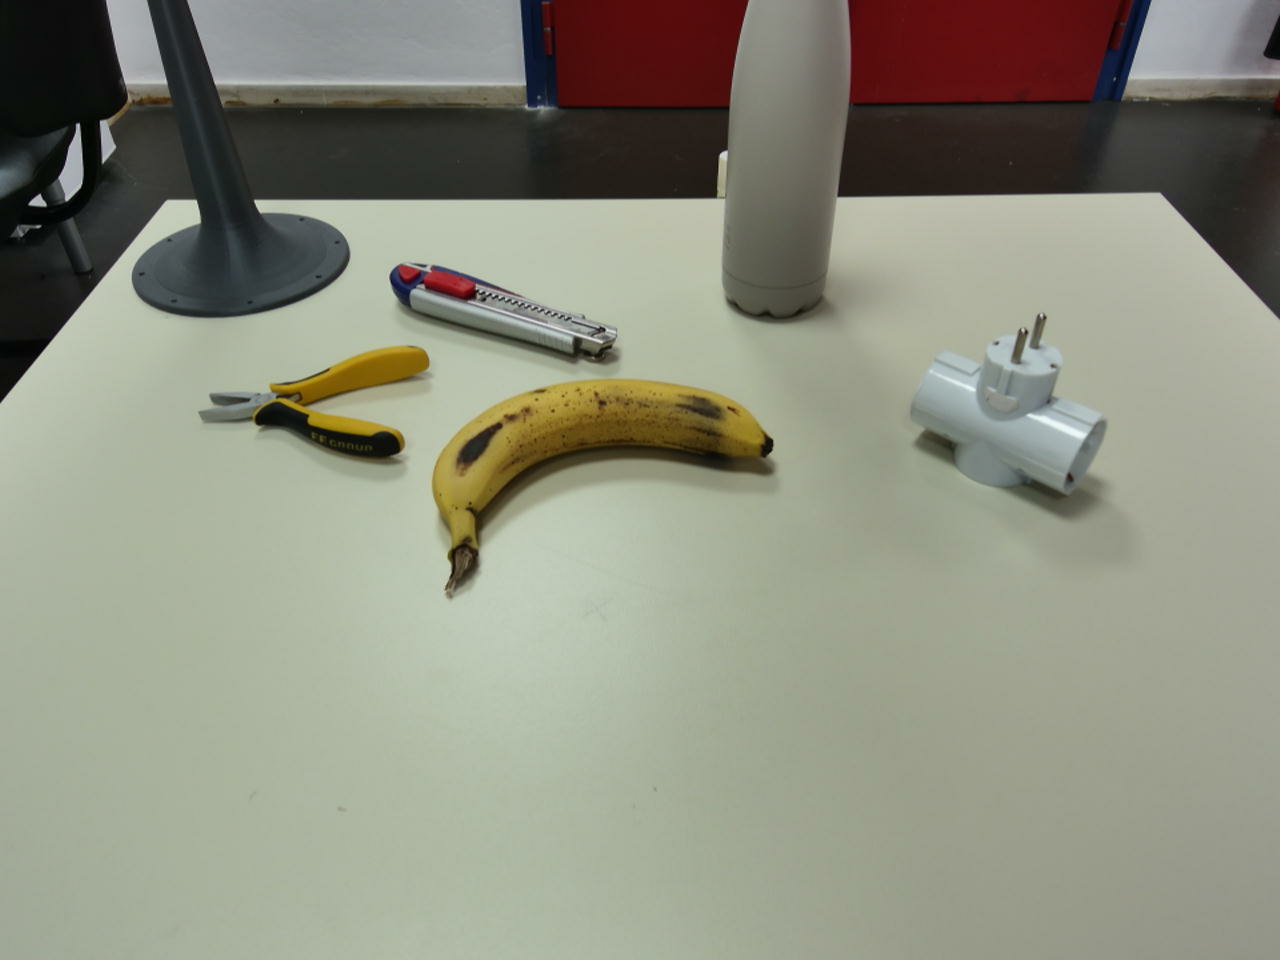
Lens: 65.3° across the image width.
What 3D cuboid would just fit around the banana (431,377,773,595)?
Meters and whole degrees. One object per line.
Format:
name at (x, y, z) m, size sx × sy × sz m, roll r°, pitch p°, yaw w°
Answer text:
banana at (-0.029, -0.017, 0.540) m, size 0.186 × 0.038 × 0.097 m, roll -18°, pitch 42°, yaw -21°
